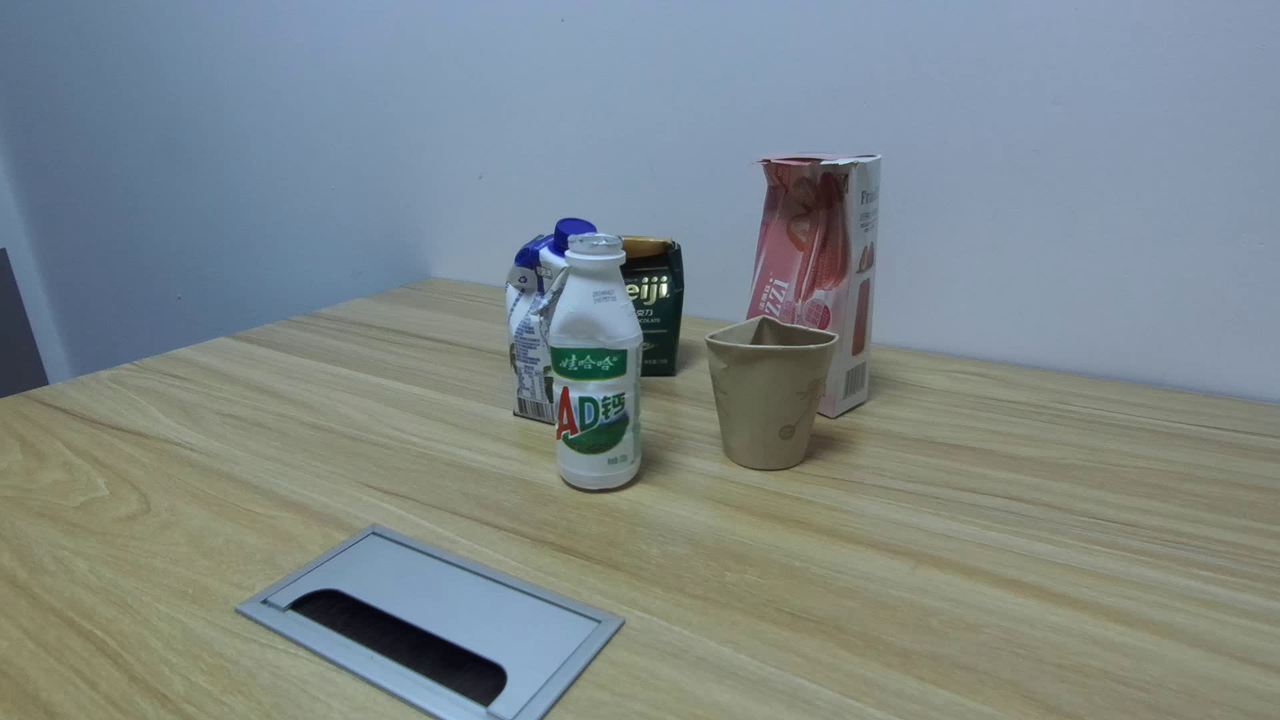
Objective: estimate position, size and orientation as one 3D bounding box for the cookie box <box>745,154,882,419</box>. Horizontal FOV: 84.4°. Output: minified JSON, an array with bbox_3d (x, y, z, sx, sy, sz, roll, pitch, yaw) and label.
[{"bbox_3d":[0.124,-0.059,0.531,0.056,0.184,0.118,-12,22,-32],"label":"cookie box"}]

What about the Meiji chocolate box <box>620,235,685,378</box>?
[{"bbox_3d":[-0.022,-0.042,0.614,0.113,0.110,0.058,3,1,6],"label":"Meiji chocolate box"}]

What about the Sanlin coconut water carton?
[{"bbox_3d":[-0.062,-0.029,0.522,0.069,0.143,0.061,12,22,33],"label":"Sanlin coconut water carton"}]

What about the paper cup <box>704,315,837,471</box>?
[{"bbox_3d":[0.081,0.022,0.449,0.066,0.084,0.071,-19,26,-41],"label":"paper cup"}]

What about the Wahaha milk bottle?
[{"bbox_3d":[-0.024,0.001,0.417,0.055,0.149,0.055,0,18,0],"label":"Wahaha milk bottle"}]
